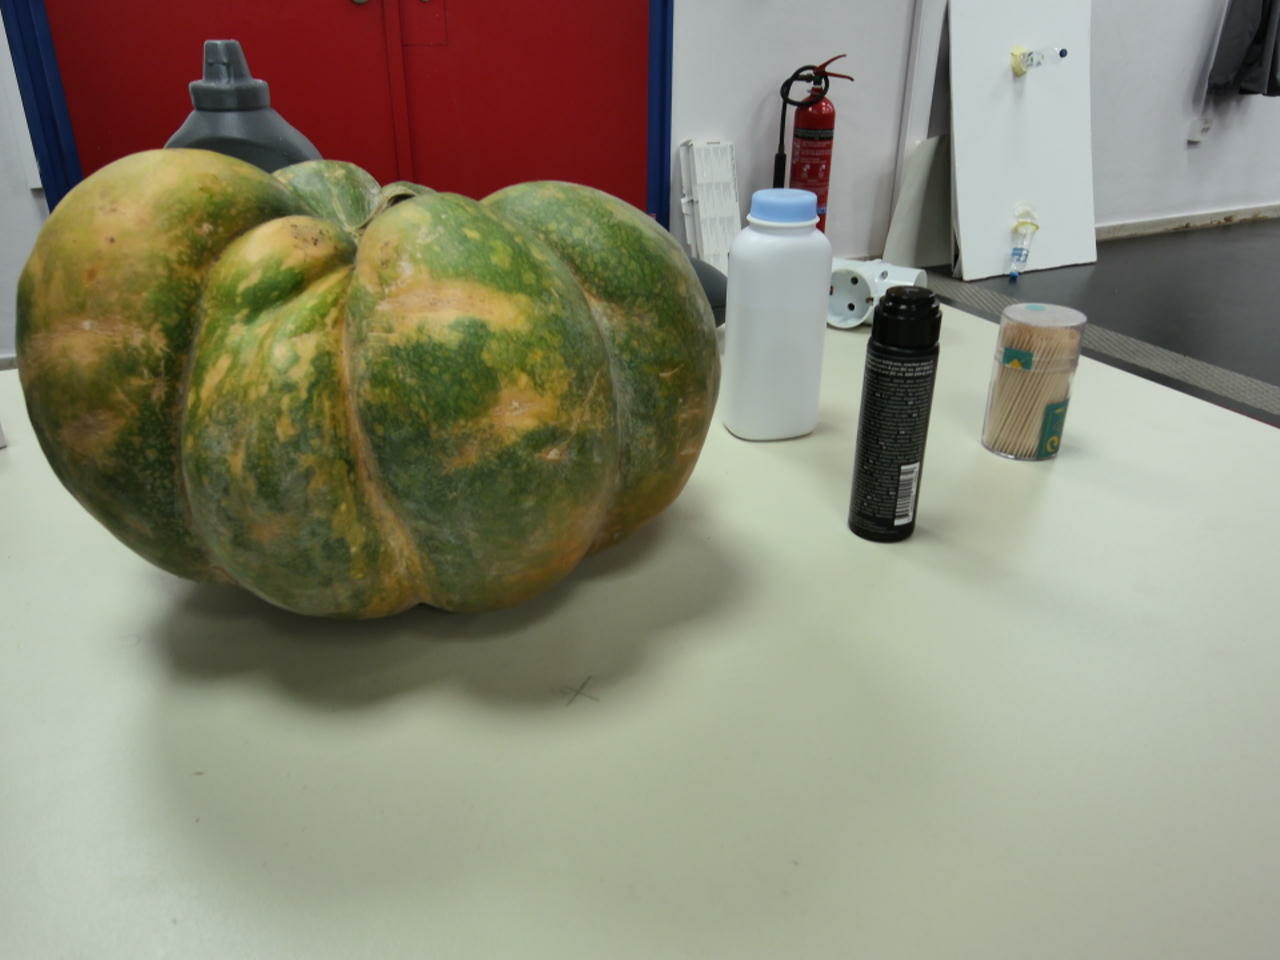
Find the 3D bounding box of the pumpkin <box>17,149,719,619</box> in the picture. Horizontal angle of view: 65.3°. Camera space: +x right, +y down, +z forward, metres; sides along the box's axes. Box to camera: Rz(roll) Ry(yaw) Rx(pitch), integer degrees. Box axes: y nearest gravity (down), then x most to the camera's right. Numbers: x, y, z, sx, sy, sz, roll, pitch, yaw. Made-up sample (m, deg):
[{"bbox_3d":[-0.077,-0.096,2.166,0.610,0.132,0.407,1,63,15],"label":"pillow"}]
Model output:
[{"bbox_3d":[-0.103,-0.049,0.405,0.270,0.173,0.237,4,25,10],"label":"pumpkin"}]
